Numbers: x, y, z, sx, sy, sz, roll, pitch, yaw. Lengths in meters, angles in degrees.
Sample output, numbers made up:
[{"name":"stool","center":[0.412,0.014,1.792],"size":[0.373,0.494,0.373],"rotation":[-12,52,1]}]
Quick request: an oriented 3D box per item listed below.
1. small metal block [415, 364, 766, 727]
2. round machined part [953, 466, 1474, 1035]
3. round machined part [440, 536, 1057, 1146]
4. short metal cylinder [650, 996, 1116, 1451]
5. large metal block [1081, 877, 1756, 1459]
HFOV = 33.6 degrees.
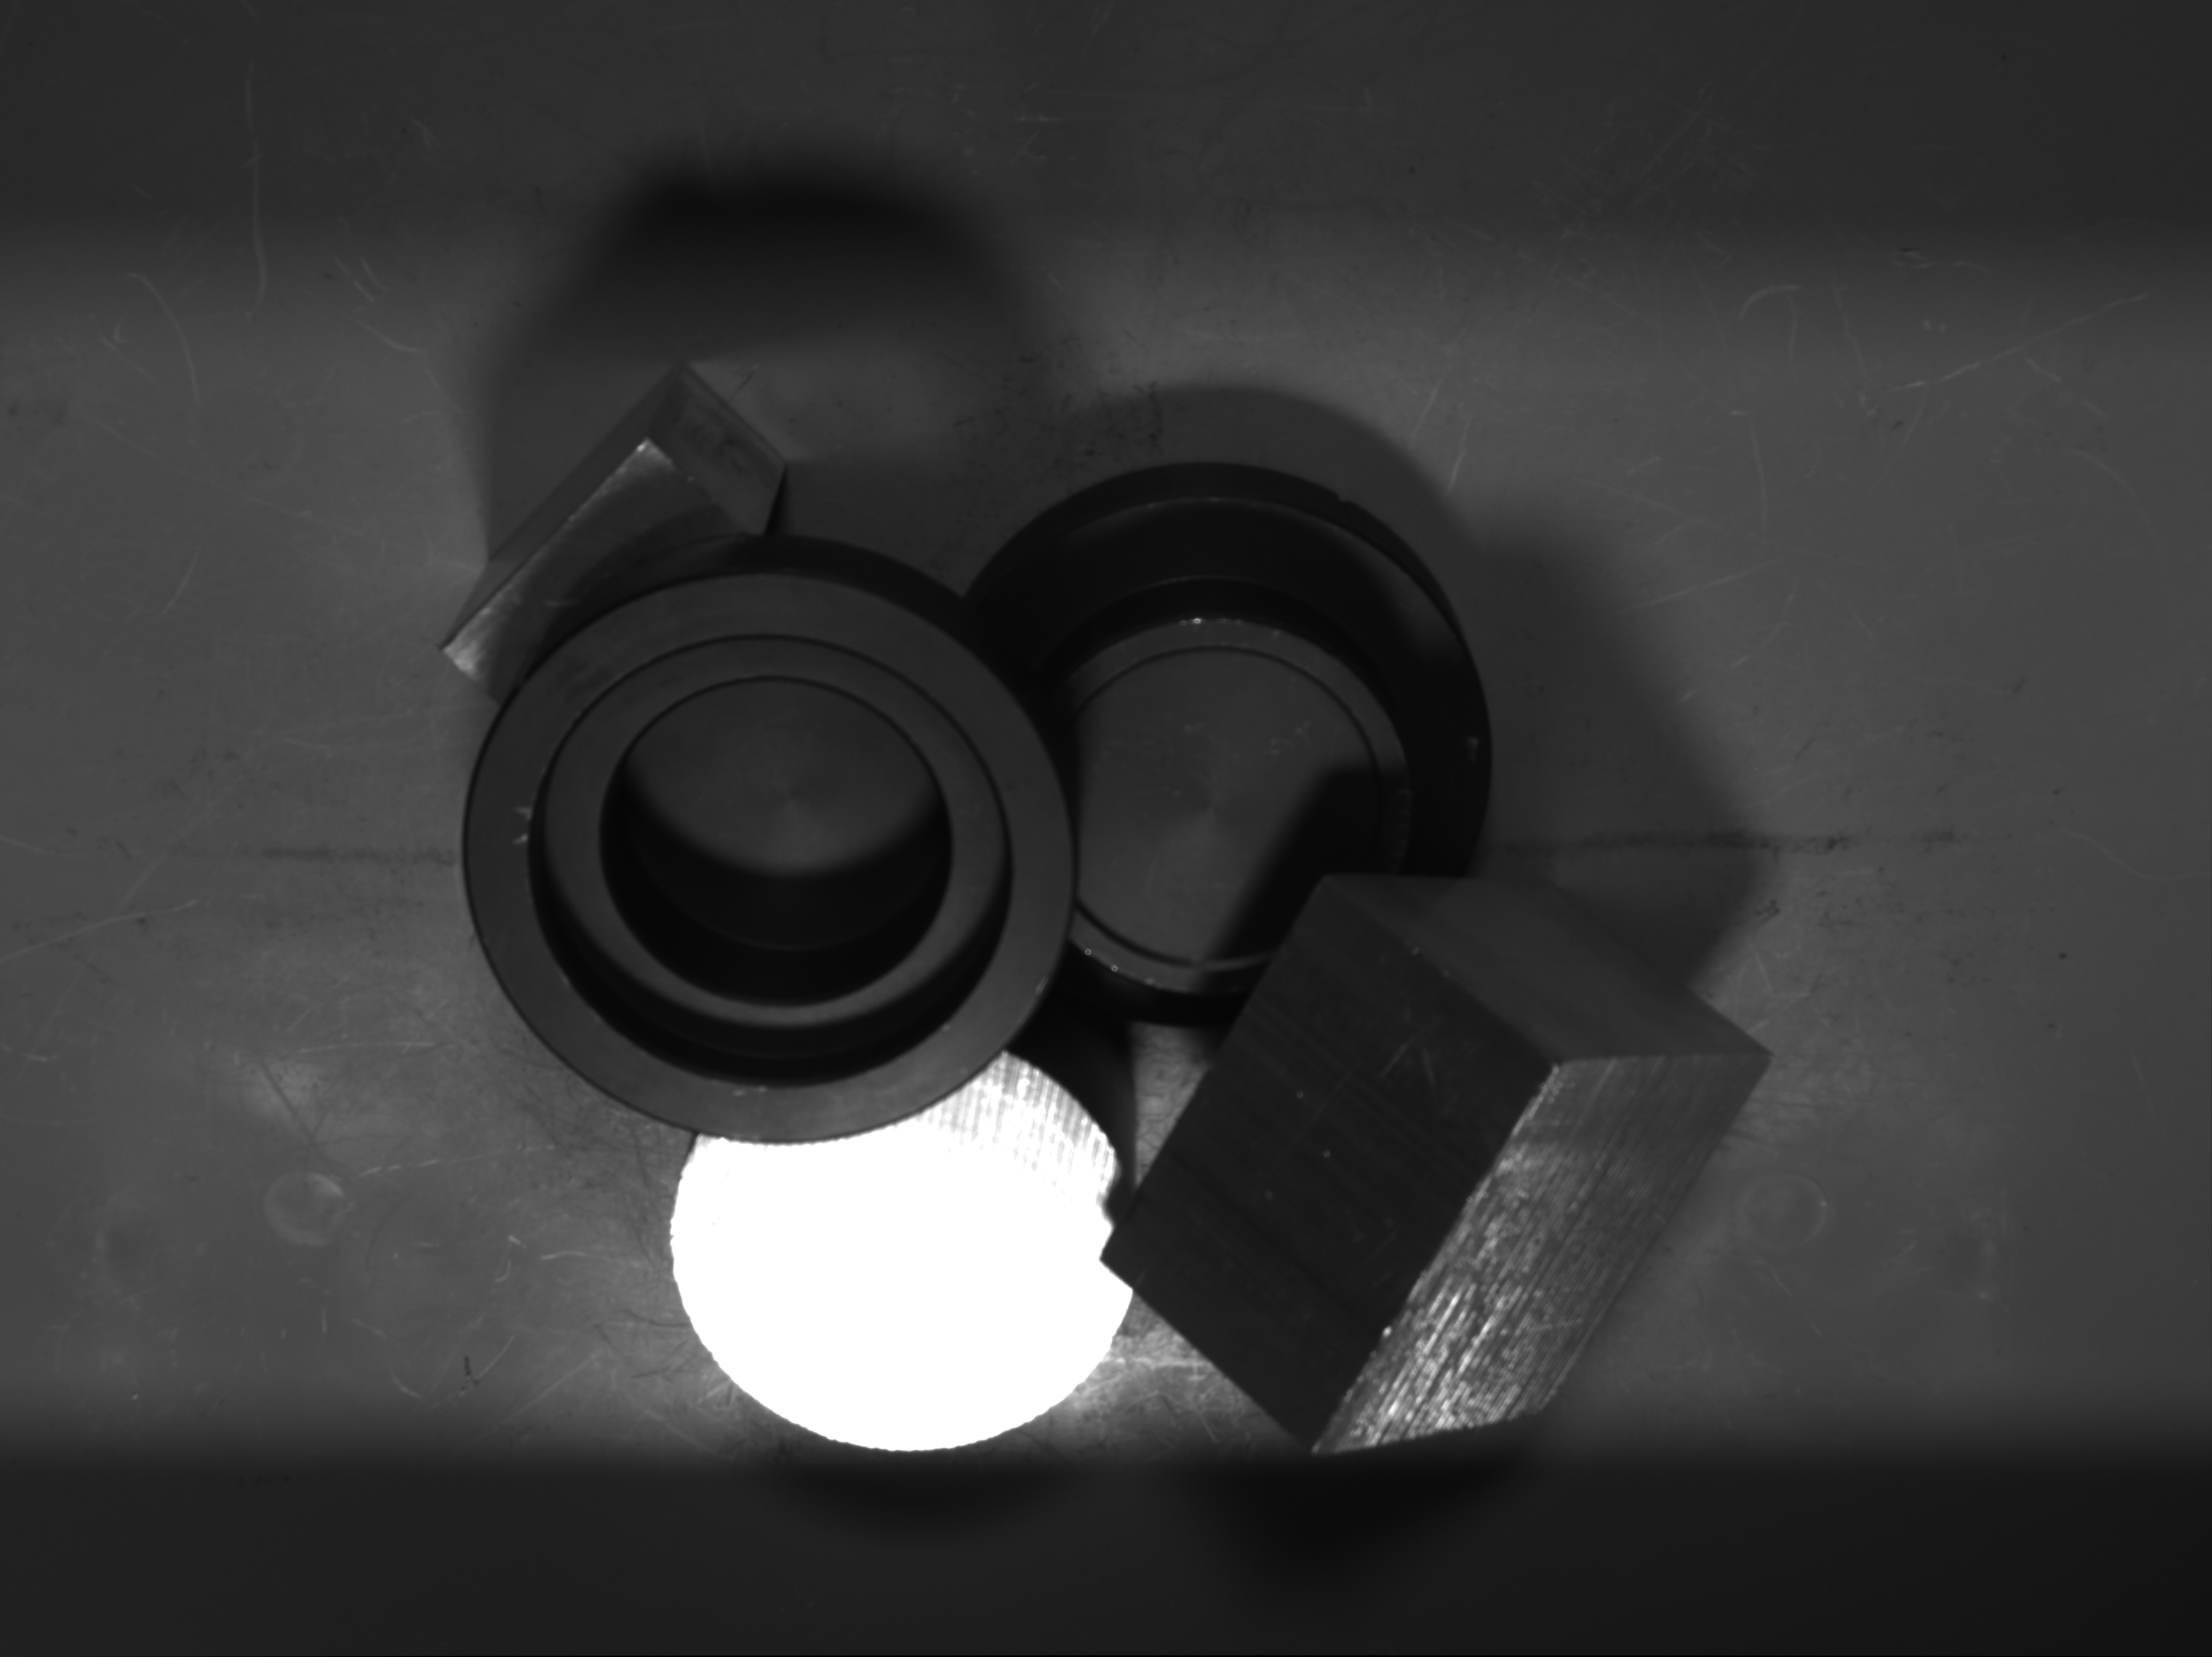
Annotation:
[{"name":"small metal block","center":[-0.085,-0.046,0.610],"size":[0.025,0.050,0.050],"rotation":[42,105,-14]},{"name":"round machined part","center":[0.014,-0.009,0.628],"size":[0.098,0.042,0.098],"rotation":[0,110,-1]},{"name":"round machined part","center":[-0.057,-0.001,0.601],"size":[0.098,0.042,0.098],"rotation":[0,110,-1]},{"name":"short metal cylinder","center":[-0.038,0.063,0.651],"size":[0.080,0.050,0.080],"rotation":[0,110,-1]},{"name":"large metal block","center":[0.054,0.057,0.627],"size":[0.050,0.080,0.080],"rotation":[39,109,29]}]
